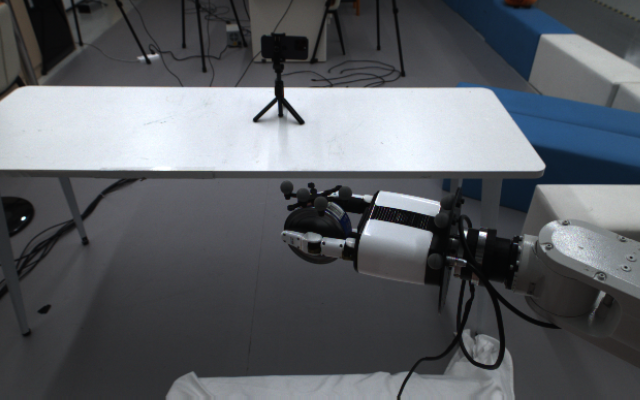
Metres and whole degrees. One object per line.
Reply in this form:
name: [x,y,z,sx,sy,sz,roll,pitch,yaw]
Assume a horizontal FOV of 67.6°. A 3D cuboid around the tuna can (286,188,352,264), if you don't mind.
tuna can: [-0.001,0.039,0.640,0.085,0.085,0.034,14,29,16]
